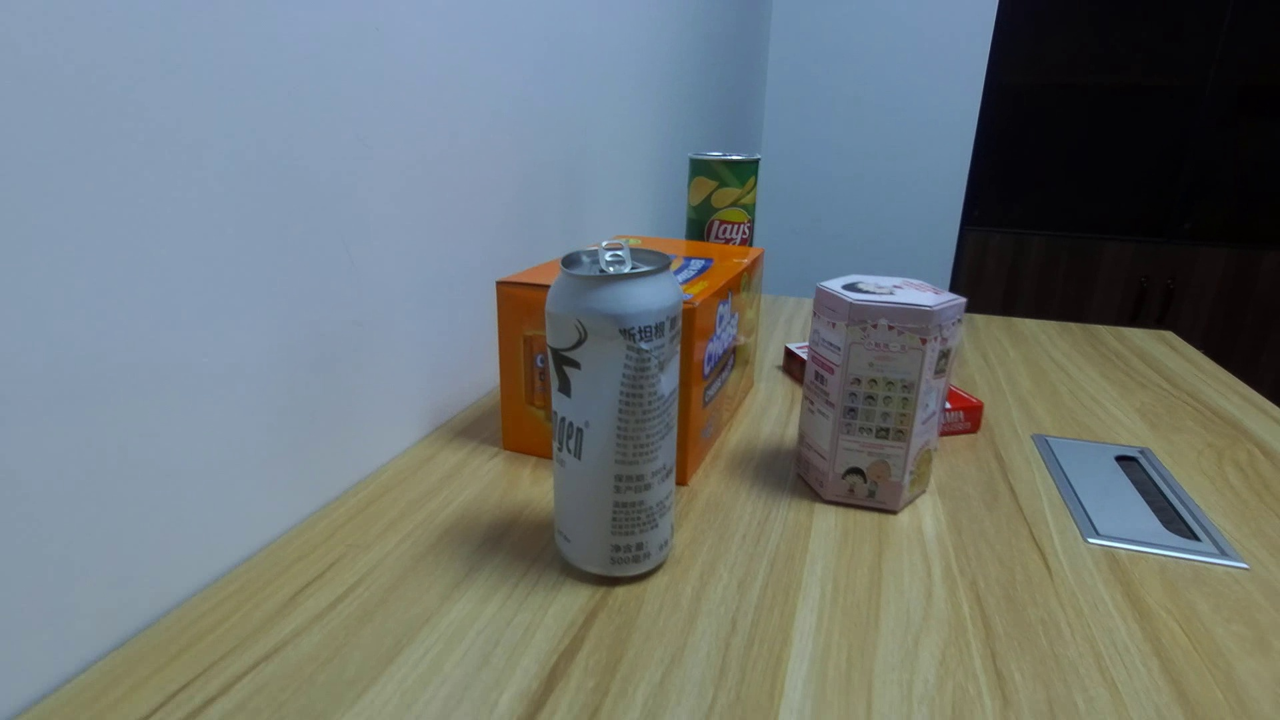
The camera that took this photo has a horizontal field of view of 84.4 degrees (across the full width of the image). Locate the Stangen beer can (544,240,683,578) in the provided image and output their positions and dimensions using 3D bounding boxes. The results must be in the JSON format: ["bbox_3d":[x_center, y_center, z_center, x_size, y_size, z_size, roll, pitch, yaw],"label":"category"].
[{"bbox_3d":[-0.014,0.028,0.369,0.069,0.173,0.070,2,19,3],"label":"Stangen beer can"}]

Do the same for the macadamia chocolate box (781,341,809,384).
[{"bbox_3d":[0.206,0.022,0.629,0.096,0.027,0.177,-4,20,-14],"label":"macadamia chocolate box"}]

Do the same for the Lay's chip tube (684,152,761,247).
[{"bbox_3d":[0.080,-0.104,0.708,0.071,0.202,0.071,1,21,0],"label":"Lay's chip tube"}]

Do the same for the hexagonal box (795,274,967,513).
[{"bbox_3d":[0.154,0.019,0.461,0.084,0.136,0.091,-4,21,-15],"label":"hexagonal box"}]

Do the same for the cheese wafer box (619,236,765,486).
[{"bbox_3d":[0.007,-0.016,0.585,0.148,0.129,0.222,9,21,20],"label":"cheese wafer box"}]
